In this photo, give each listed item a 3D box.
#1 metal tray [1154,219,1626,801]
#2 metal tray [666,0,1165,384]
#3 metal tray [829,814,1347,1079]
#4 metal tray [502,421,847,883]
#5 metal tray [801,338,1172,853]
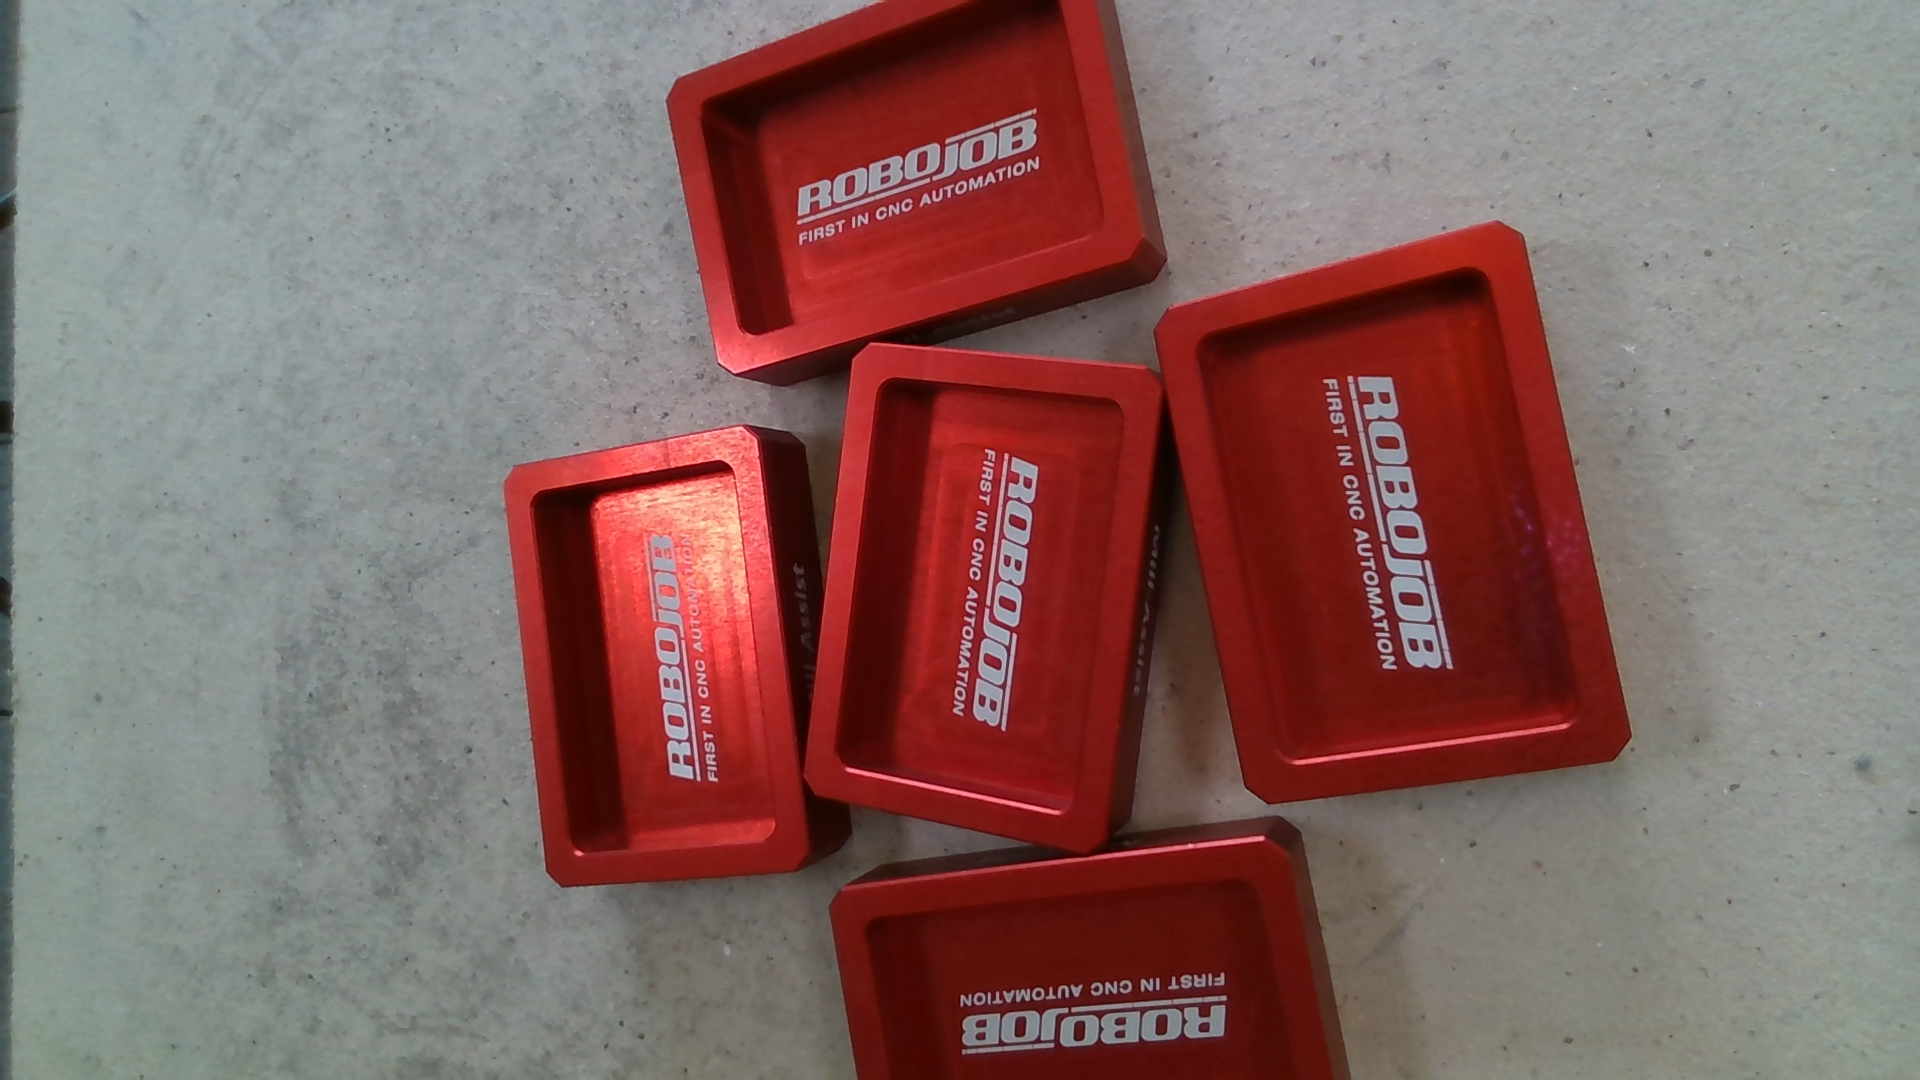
[{"bbox_3d":[0.107,-0.005,0.352,0.090,0.030,0.130,-12,86,20],"label":"metal tray"},{"bbox_3d":[-0.015,-0.105,0.396,0.130,0.030,0.090,-13,86,20],"label":"metal tray"},{"bbox_3d":[0.034,0.130,0.380,0.130,0.030,0.090,-12,85,20],"label":"metal tray"},{"bbox_3d":[-0.089,0.035,0.423,0.090,0.030,0.130,-8,87,20],"label":"metal tray"},{"bbox_3d":[0.009,0.013,0.388,0.090,0.030,0.130,8,93,22],"label":"metal tray"}]
